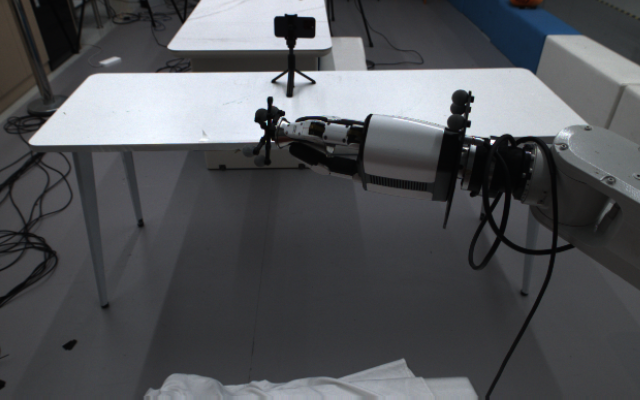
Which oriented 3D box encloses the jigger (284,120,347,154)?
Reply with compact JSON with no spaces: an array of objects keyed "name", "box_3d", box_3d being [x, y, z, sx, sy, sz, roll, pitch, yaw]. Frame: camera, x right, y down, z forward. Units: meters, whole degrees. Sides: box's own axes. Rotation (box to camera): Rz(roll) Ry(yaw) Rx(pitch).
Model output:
[{"name":"jigger","box_3d":[-0.012,-0.083,0.606,0.071,0.043,0.043,10,35,16]}]
